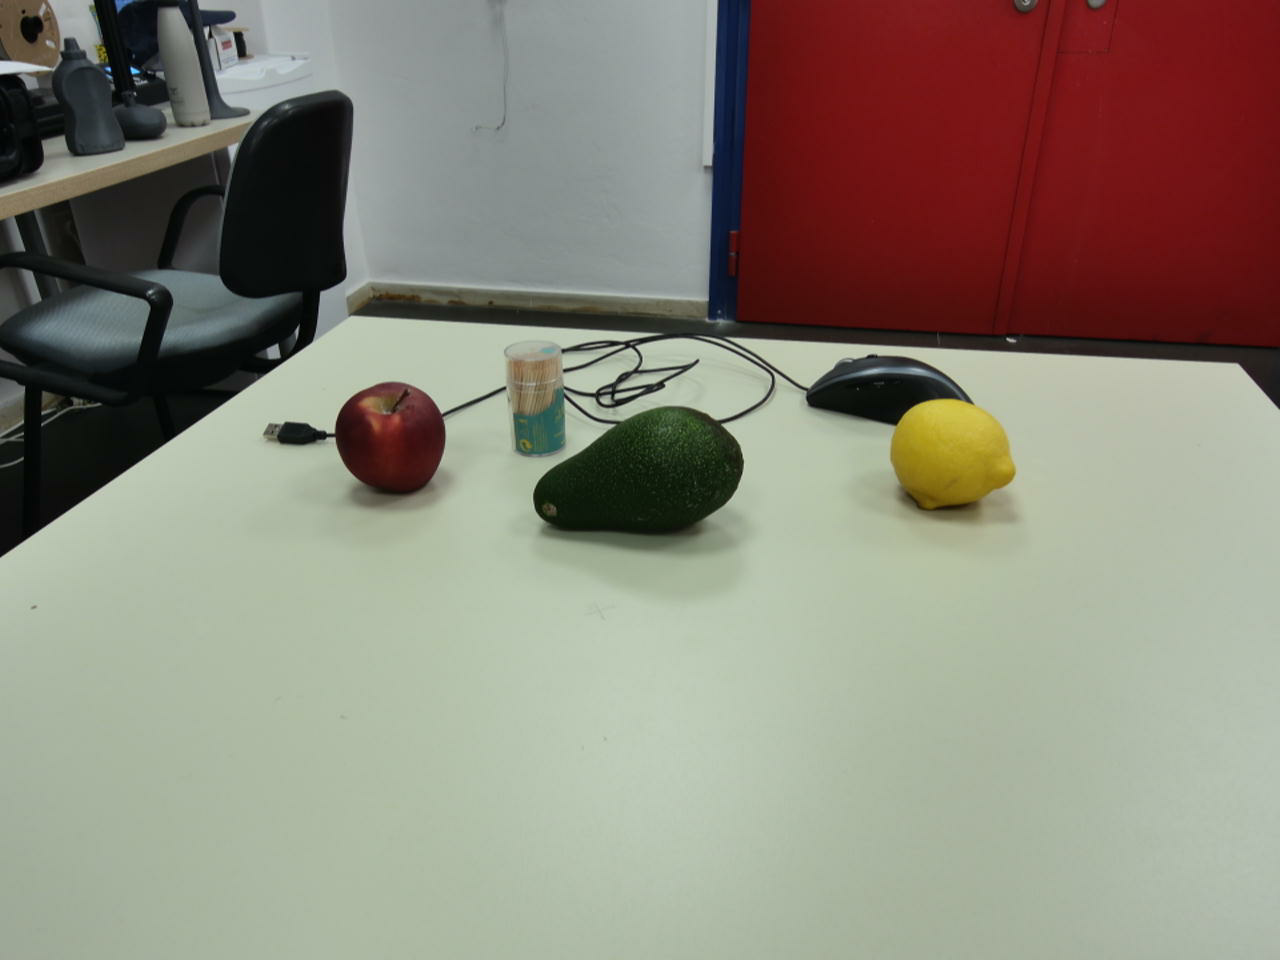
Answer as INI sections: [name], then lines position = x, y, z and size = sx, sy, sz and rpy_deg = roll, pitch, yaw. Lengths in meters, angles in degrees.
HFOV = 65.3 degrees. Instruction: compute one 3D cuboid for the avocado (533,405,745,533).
[avocado]
position = 0.001, -0.009, 0.597
size = 0.123, 0.076, 0.074
rpy_deg = 8, 27, 16
